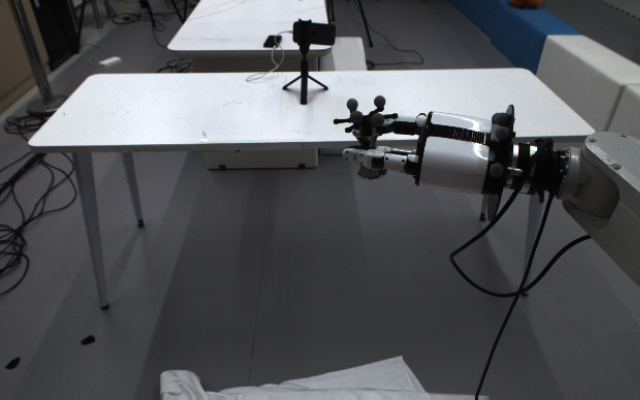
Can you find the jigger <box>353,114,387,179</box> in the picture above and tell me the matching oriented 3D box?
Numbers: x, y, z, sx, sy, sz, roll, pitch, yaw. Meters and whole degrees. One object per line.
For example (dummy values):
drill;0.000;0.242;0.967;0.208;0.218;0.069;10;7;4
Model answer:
jigger;0.072;-0.072;0.700;0.043;0.071;0.043;-9;31;5
